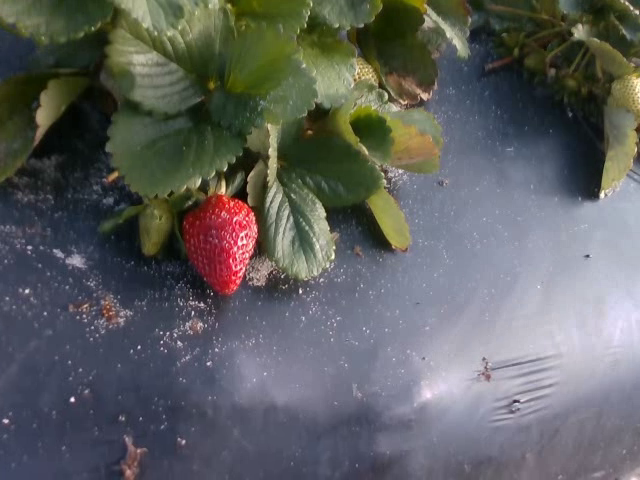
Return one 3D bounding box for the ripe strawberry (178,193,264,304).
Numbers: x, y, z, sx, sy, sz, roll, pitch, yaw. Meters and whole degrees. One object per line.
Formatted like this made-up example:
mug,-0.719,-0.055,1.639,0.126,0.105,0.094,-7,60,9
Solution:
ripe strawberry,-0.030,0.003,0.189,0.029,0.036,0.021,-6,-22,-16
